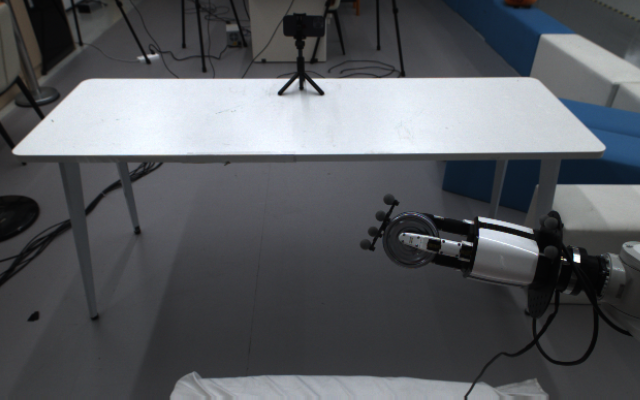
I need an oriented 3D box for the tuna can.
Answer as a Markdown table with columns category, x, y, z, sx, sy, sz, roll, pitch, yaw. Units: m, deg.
| category | x | y | z | sx | sy | sz | roll | pitch | yaw |
| --- | --- | --- | --- | --- | --- | --- | --- | --- | --- |
| tuna can | 0.142 | 0.059 | 0.743 | 0.085 | 0.085 | 0.034 | 9 | 4 | 10 |
